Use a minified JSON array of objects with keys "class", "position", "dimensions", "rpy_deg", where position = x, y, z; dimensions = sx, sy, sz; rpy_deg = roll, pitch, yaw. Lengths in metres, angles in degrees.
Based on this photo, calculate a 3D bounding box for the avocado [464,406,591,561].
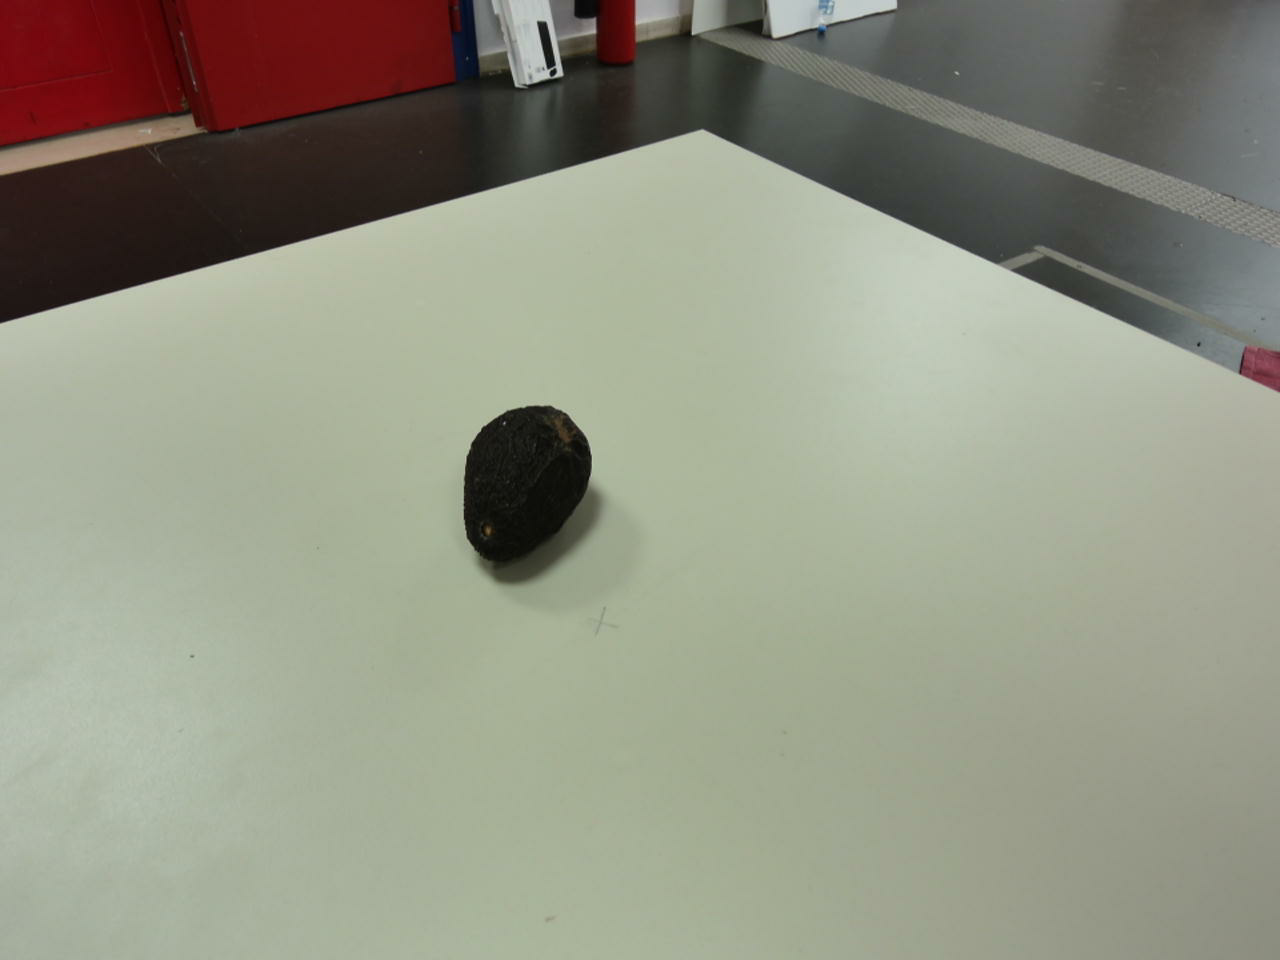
[{"class":"avocado","position":[-0.061,-0.001,0.510],"dimensions":[0.062,0.062,0.092],"rpy_deg":[19,42,22]}]
